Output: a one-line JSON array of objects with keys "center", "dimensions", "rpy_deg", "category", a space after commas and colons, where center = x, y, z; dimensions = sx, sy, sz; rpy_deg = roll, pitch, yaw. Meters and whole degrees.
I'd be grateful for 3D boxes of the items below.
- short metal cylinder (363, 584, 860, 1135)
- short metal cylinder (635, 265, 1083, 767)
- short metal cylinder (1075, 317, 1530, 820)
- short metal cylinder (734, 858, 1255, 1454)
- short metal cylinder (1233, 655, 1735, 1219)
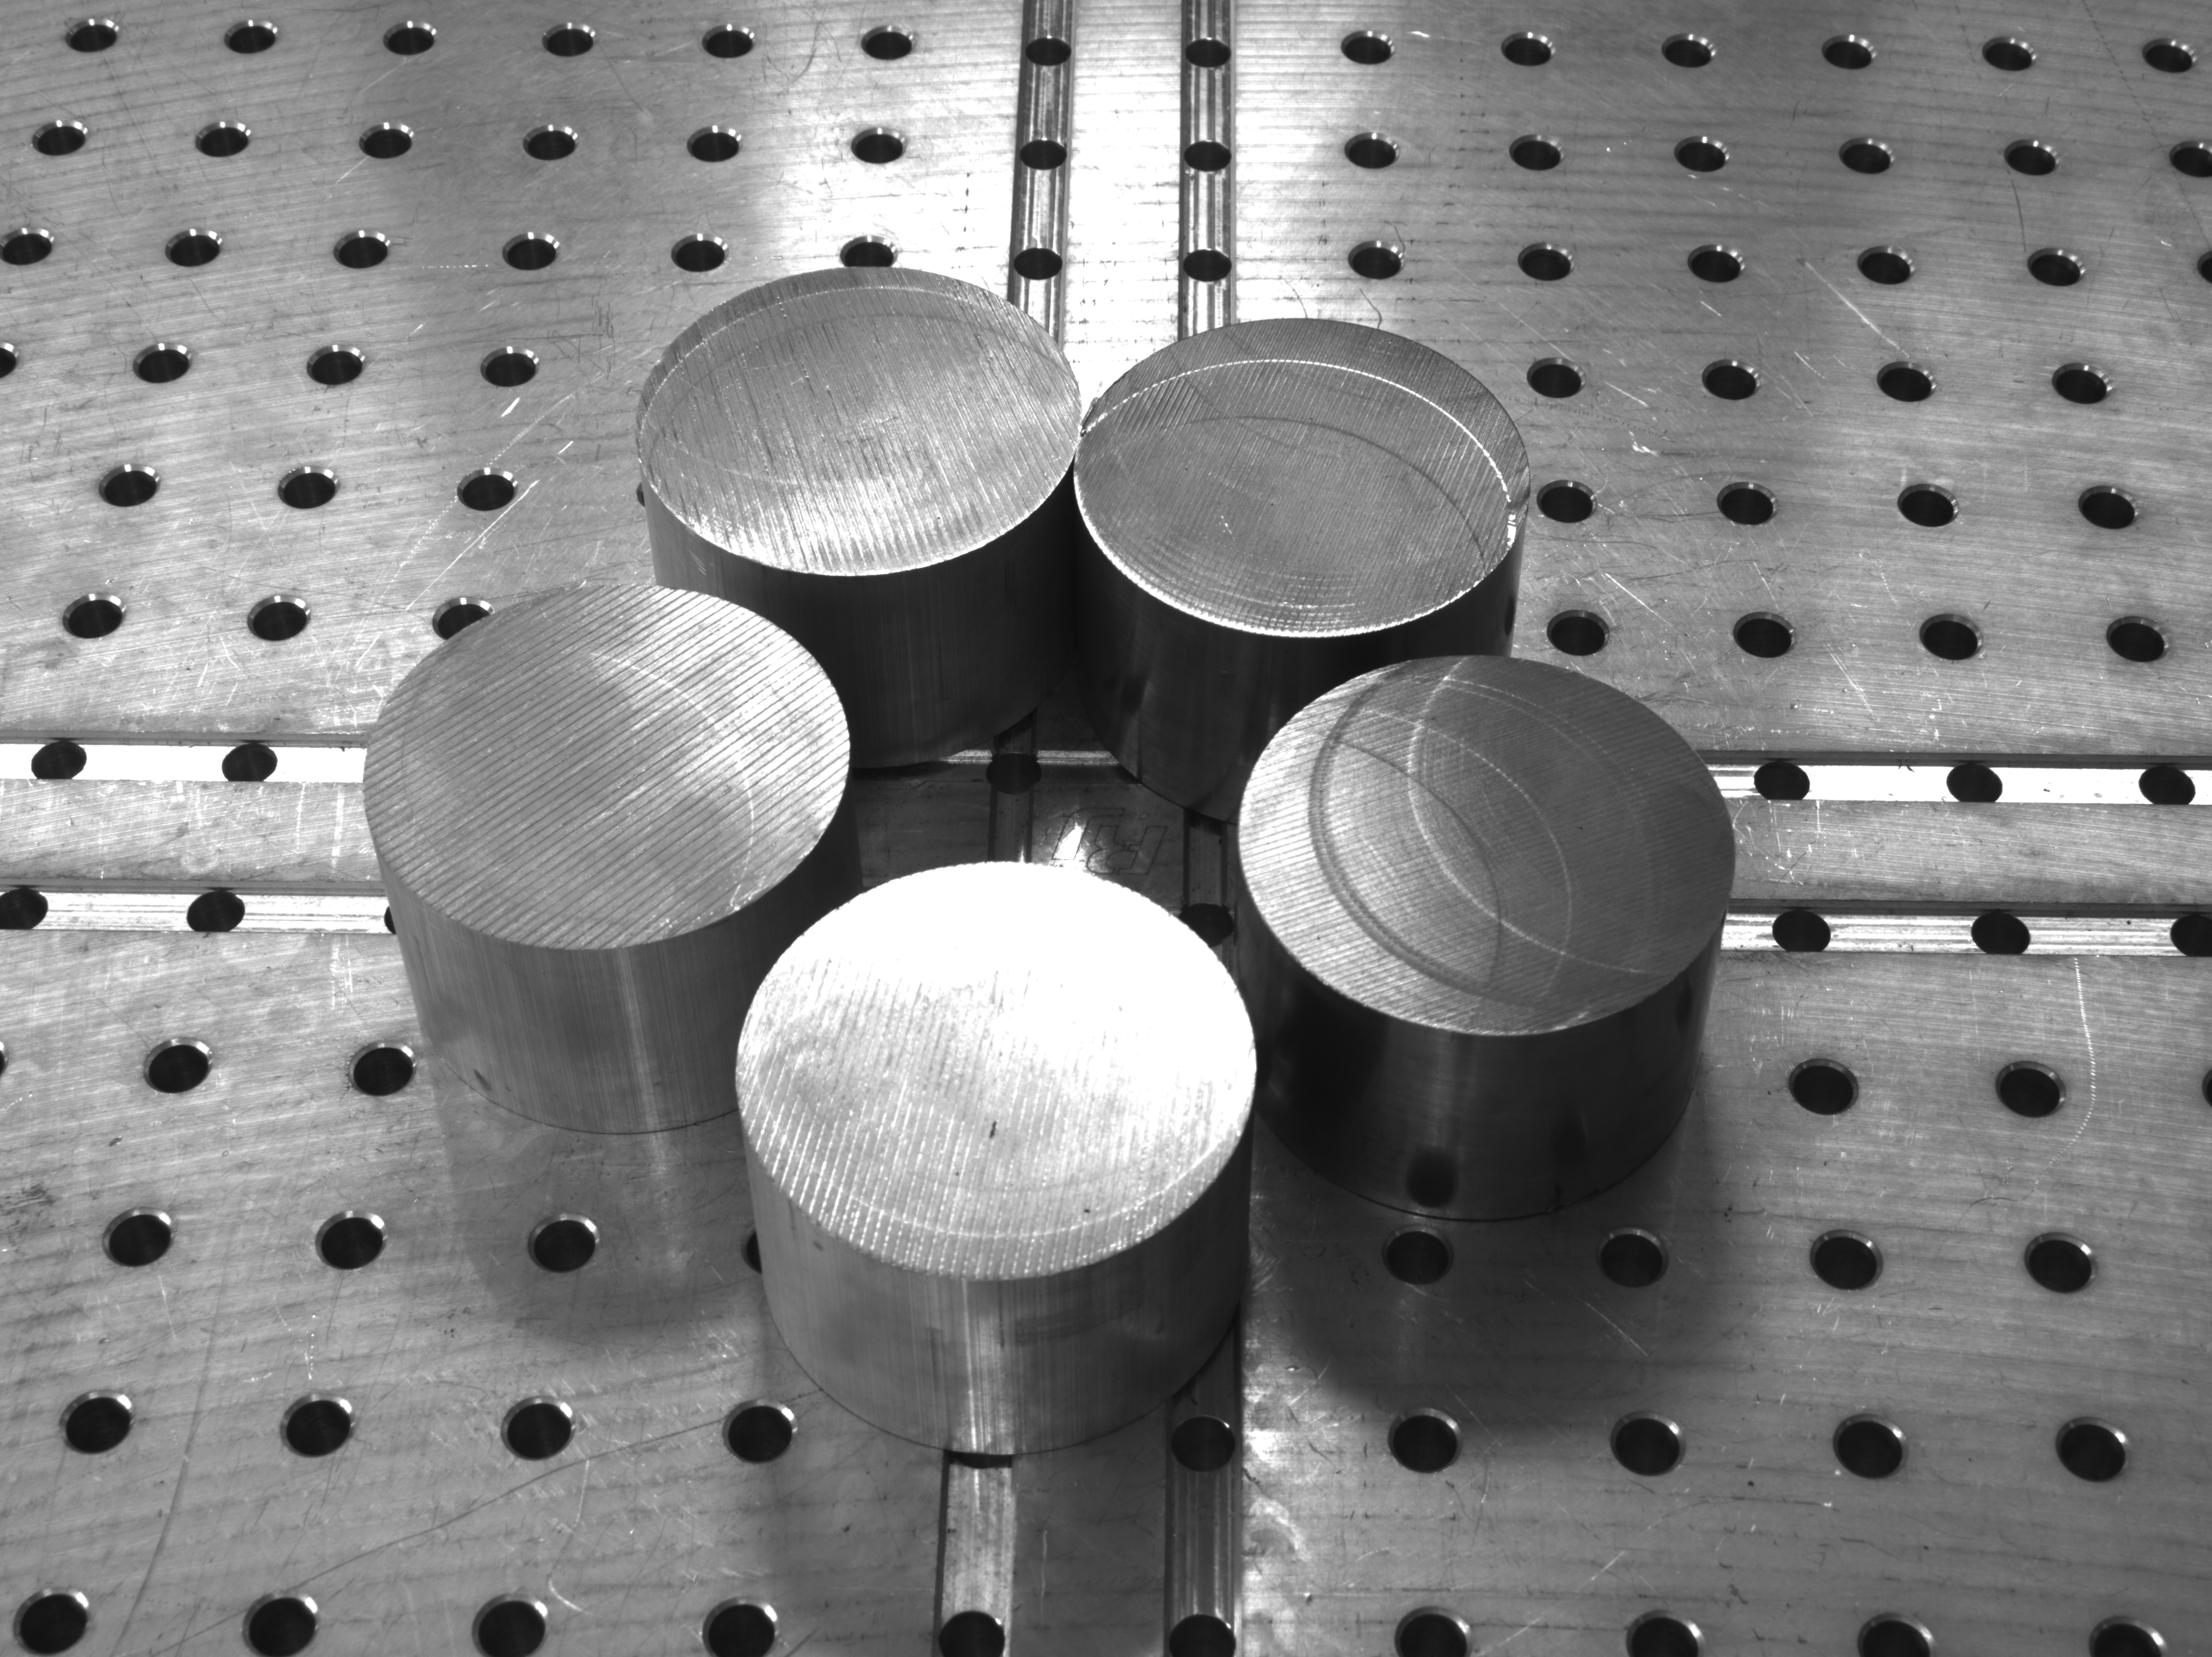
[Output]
[{"center": [-0.082, 0.005, 0.625], "dimensions": [0.080, 0.050, 0.080], "rpy_deg": [0, 50, 0], "category": "short metal cylinder"}, {"center": [-0.044, -0.058, 0.678], "dimensions": [0.080, 0.050, 0.080], "rpy_deg": [0, 50, 0], "category": "short metal cylinder"}, {"center": [0.035, -0.047, 0.668], "dimensions": [0.080, 0.050, 0.080], "rpy_deg": [0, 50, 0], "category": "short metal cylinder"}, {"center": [-0.017, 0.051, 0.585], "dimensions": [0.080, 0.050, 0.080], "rpy_deg": [0, 49, 1], "category": "short metal cylinder"}, {"center": [0.061, 0.018, 0.614], "dimensions": [0.080, 0.050, 0.080], "rpy_deg": [0, 51, 0], "category": "short metal cylinder"}]
